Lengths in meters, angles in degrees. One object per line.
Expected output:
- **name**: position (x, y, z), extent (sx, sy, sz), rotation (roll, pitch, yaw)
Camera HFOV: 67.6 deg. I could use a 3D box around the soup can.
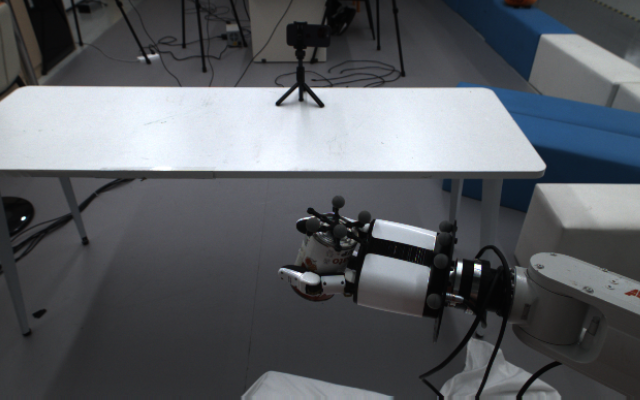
- **soup can**: position (0.005, 0.076, 0.641), extent (0.067, 0.101, 0.067), rotation (14, 35, -10)
